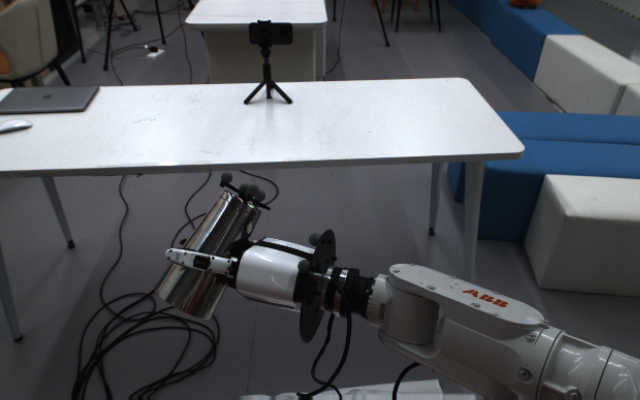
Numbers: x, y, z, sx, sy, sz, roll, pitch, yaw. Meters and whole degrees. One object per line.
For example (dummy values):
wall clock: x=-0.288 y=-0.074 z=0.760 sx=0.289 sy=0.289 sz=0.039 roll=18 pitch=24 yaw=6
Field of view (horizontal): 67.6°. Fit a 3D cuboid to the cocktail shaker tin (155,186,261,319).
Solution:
cocktail shaker tin: x=-0.156 y=0.071 z=0.704 sx=0.093 sy=0.093 sz=0.170 roll=27 pitch=83 yaw=31
